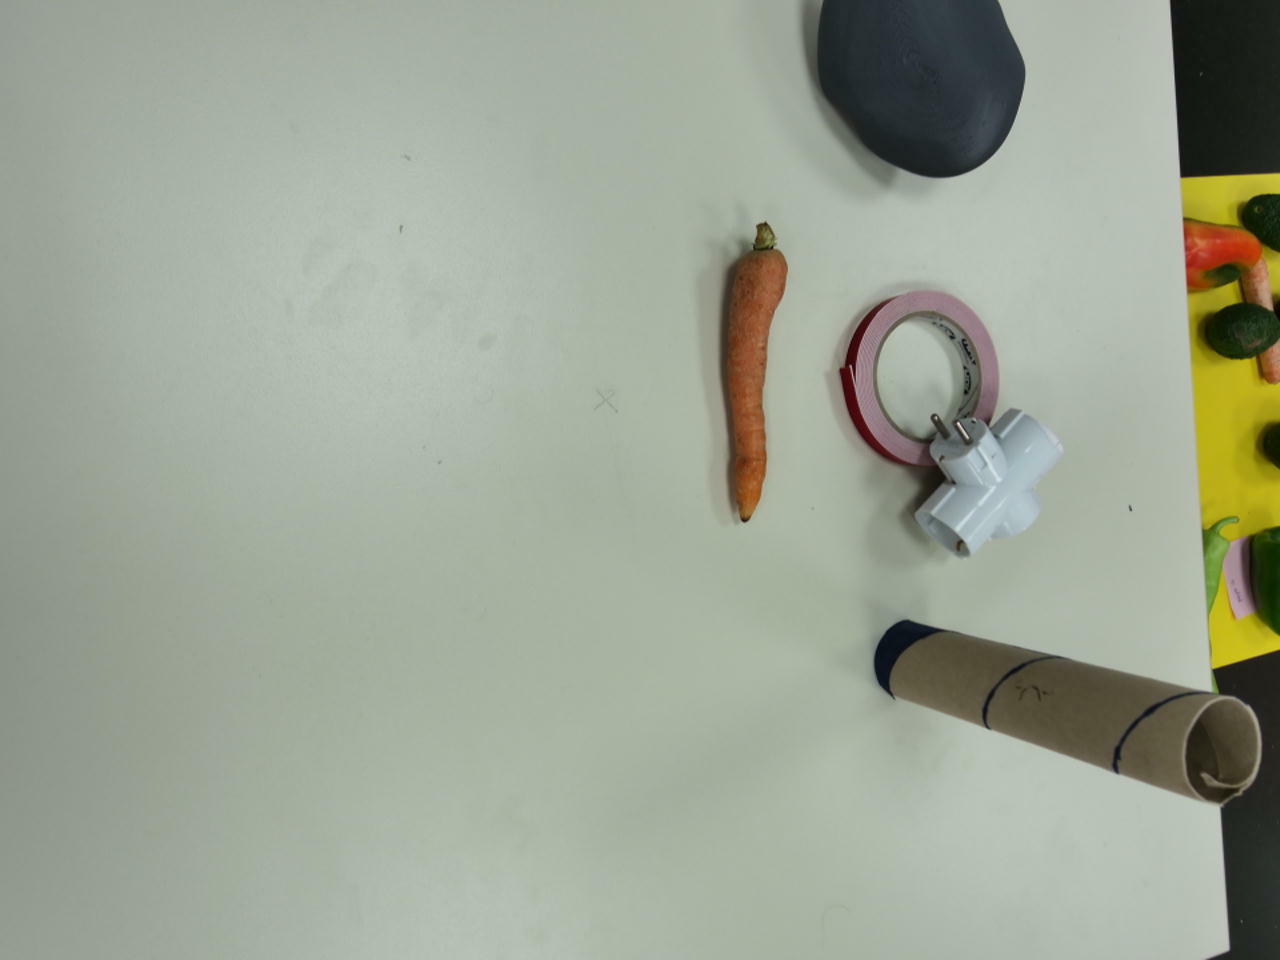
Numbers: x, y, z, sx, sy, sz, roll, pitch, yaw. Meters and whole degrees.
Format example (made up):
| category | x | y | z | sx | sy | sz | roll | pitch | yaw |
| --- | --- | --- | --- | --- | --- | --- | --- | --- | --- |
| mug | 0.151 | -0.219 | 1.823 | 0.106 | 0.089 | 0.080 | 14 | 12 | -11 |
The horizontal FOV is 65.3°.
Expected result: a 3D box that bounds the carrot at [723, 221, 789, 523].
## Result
| category | x | y | z | sx | sy | sz | roll | pitch | yaw |
| --- | --- | --- | --- | --- | --- | --- | --- | --- | --- |
| carrot | 0.065 | -0.060 | 0.577 | 0.030 | 0.032 | 0.173 | 4 | 89 | -22 |
